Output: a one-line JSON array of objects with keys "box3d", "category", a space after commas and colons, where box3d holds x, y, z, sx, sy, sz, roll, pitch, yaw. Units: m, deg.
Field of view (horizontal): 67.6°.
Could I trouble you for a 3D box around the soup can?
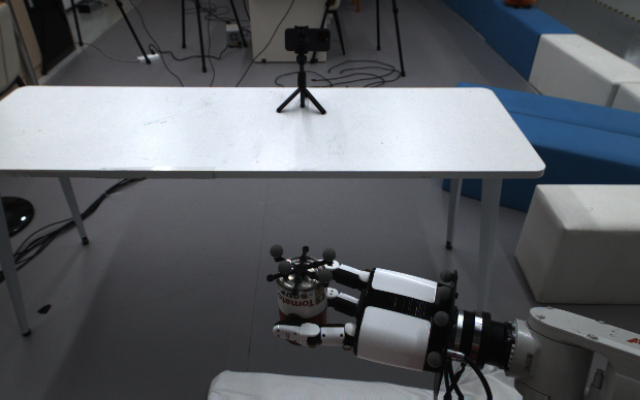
[{"box3d": [-0.020, 0.133, 0.643, 0.067, 0.101, 0.067, -2, 34, 1], "category": "soup can"}]
